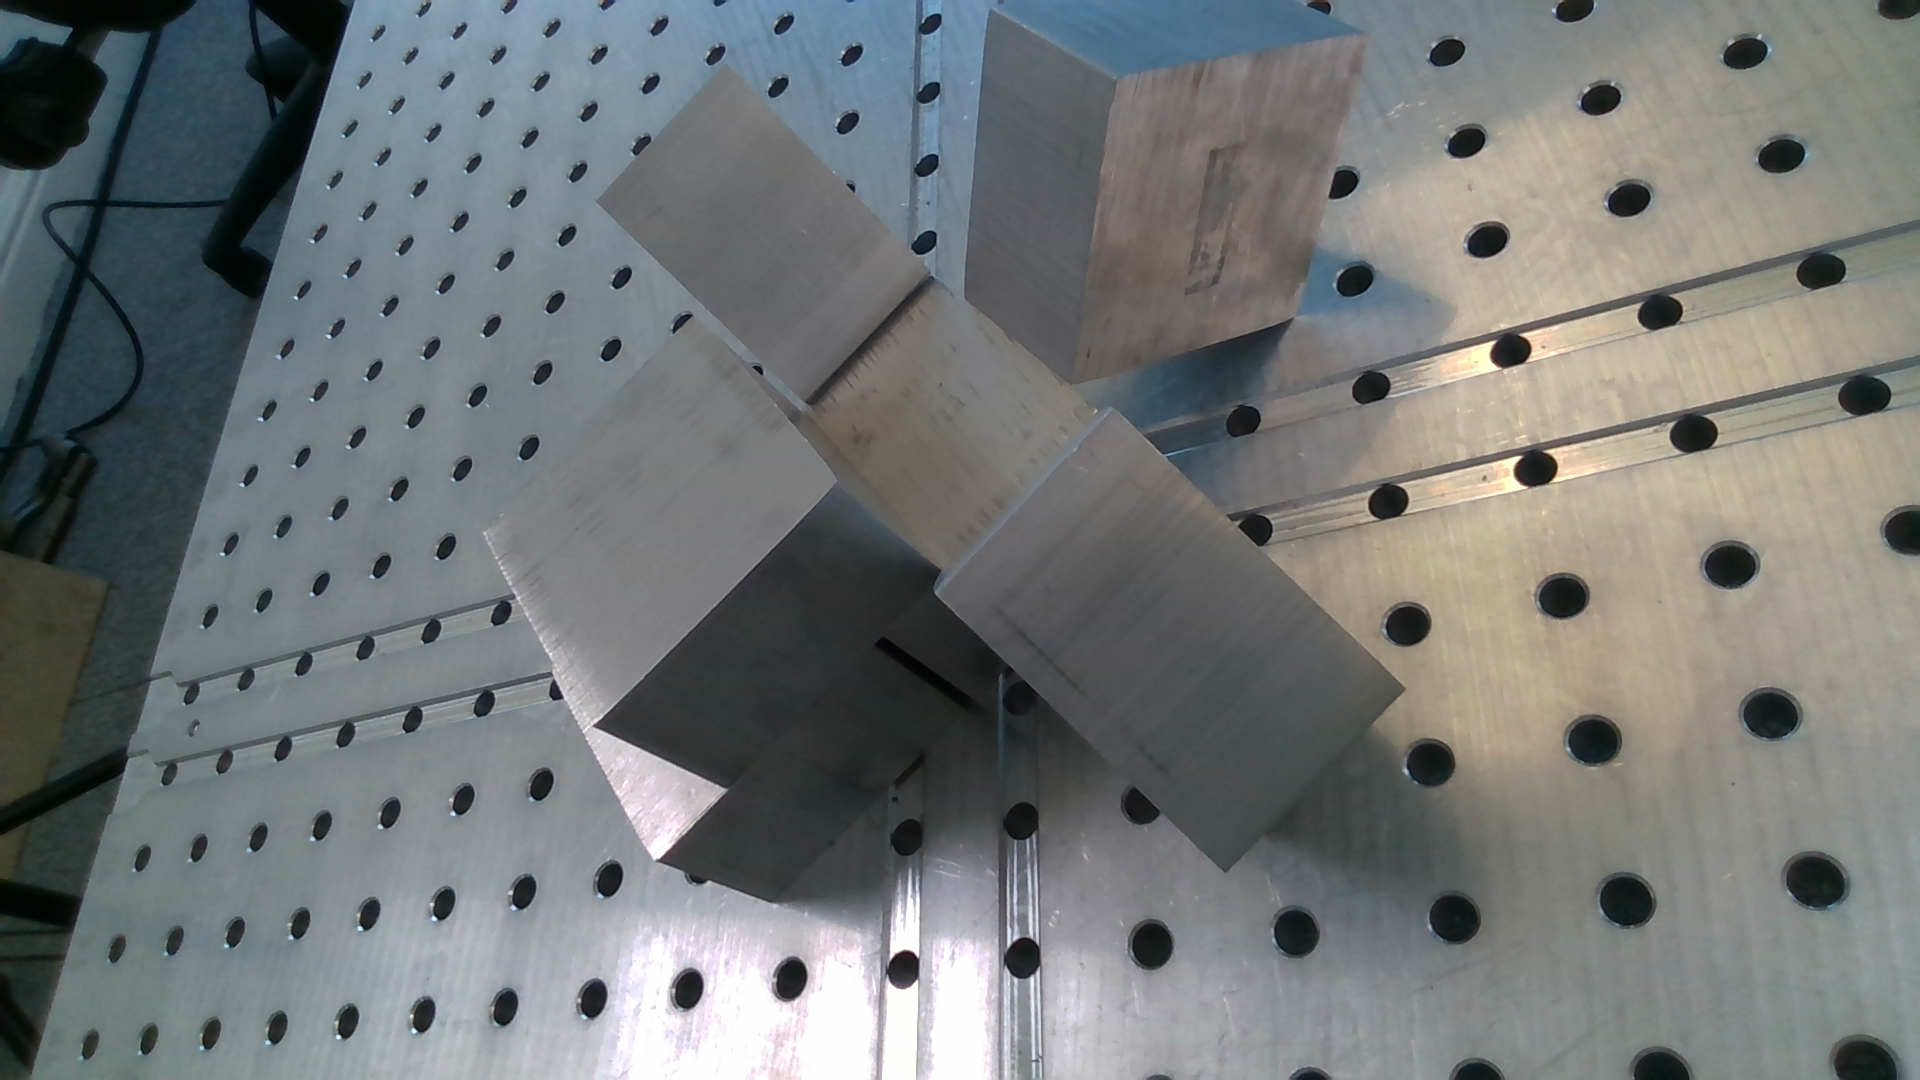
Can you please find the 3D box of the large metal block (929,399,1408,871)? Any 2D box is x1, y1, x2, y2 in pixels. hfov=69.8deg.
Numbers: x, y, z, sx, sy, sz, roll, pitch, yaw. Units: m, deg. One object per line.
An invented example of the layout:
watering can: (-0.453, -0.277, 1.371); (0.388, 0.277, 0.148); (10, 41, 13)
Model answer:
large metal block: (0.041, 0.017, 0.306); (0.080, 0.080, 0.050); (44, 92, -1)

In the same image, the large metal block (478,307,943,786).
large metal block: (-0.065, 0.001, 0.353); (0.080, 0.050, 0.080); (-46, 52, 3)

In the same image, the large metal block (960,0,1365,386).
large metal block: (0.050, -0.096, 0.361); (0.080, 0.080, 0.050); (-19, 45, -27)

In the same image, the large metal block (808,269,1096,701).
large metal block: (-0.002, -0.016, 0.389); (0.080, 0.050, 0.080); (-46, 51, 2)

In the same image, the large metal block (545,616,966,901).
large metal block: (-0.059, 0.041, 0.394); (0.080, 0.050, 0.080); (-44, 52, 2)

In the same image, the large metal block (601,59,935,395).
large metal block: (-0.057, -0.092, 0.425); (0.050, 0.080, 0.080); (-46, 9, 2)
